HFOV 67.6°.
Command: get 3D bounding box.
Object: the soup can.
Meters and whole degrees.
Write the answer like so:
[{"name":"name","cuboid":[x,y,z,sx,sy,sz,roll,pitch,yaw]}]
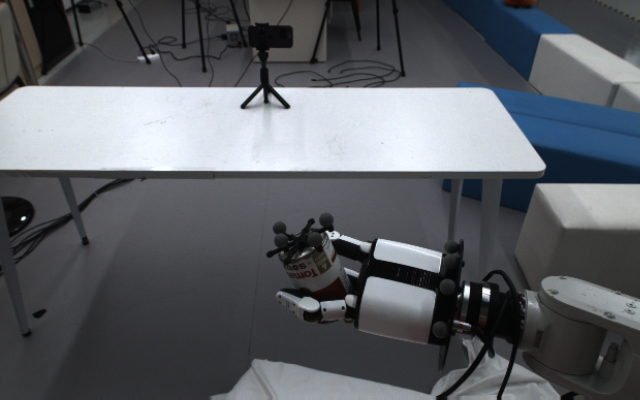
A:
[{"name":"soup can","cuboid":[0.001,0.095,0.609,0.067,0.101,0.067,-22,24,10]}]
